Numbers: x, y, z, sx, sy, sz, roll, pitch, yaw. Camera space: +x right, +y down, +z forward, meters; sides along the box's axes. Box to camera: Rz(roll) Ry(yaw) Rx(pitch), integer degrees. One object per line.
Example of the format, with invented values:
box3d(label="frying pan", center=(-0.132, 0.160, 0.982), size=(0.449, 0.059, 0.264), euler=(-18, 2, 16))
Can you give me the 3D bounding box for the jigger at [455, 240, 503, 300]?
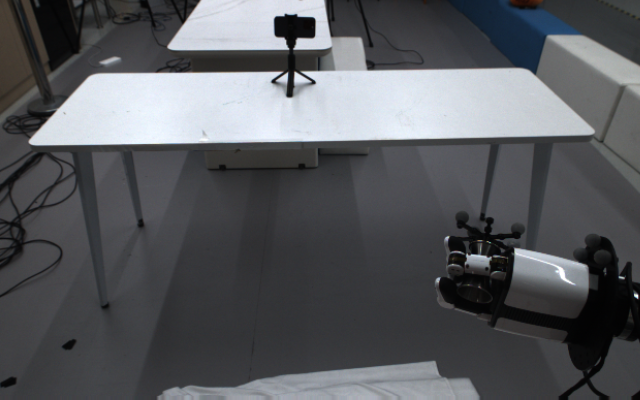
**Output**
box3d(label="jigger", center=(0.205, 0.088, 0.611), size=(0.043, 0.043, 0.071), euler=(13, 57, 15))
